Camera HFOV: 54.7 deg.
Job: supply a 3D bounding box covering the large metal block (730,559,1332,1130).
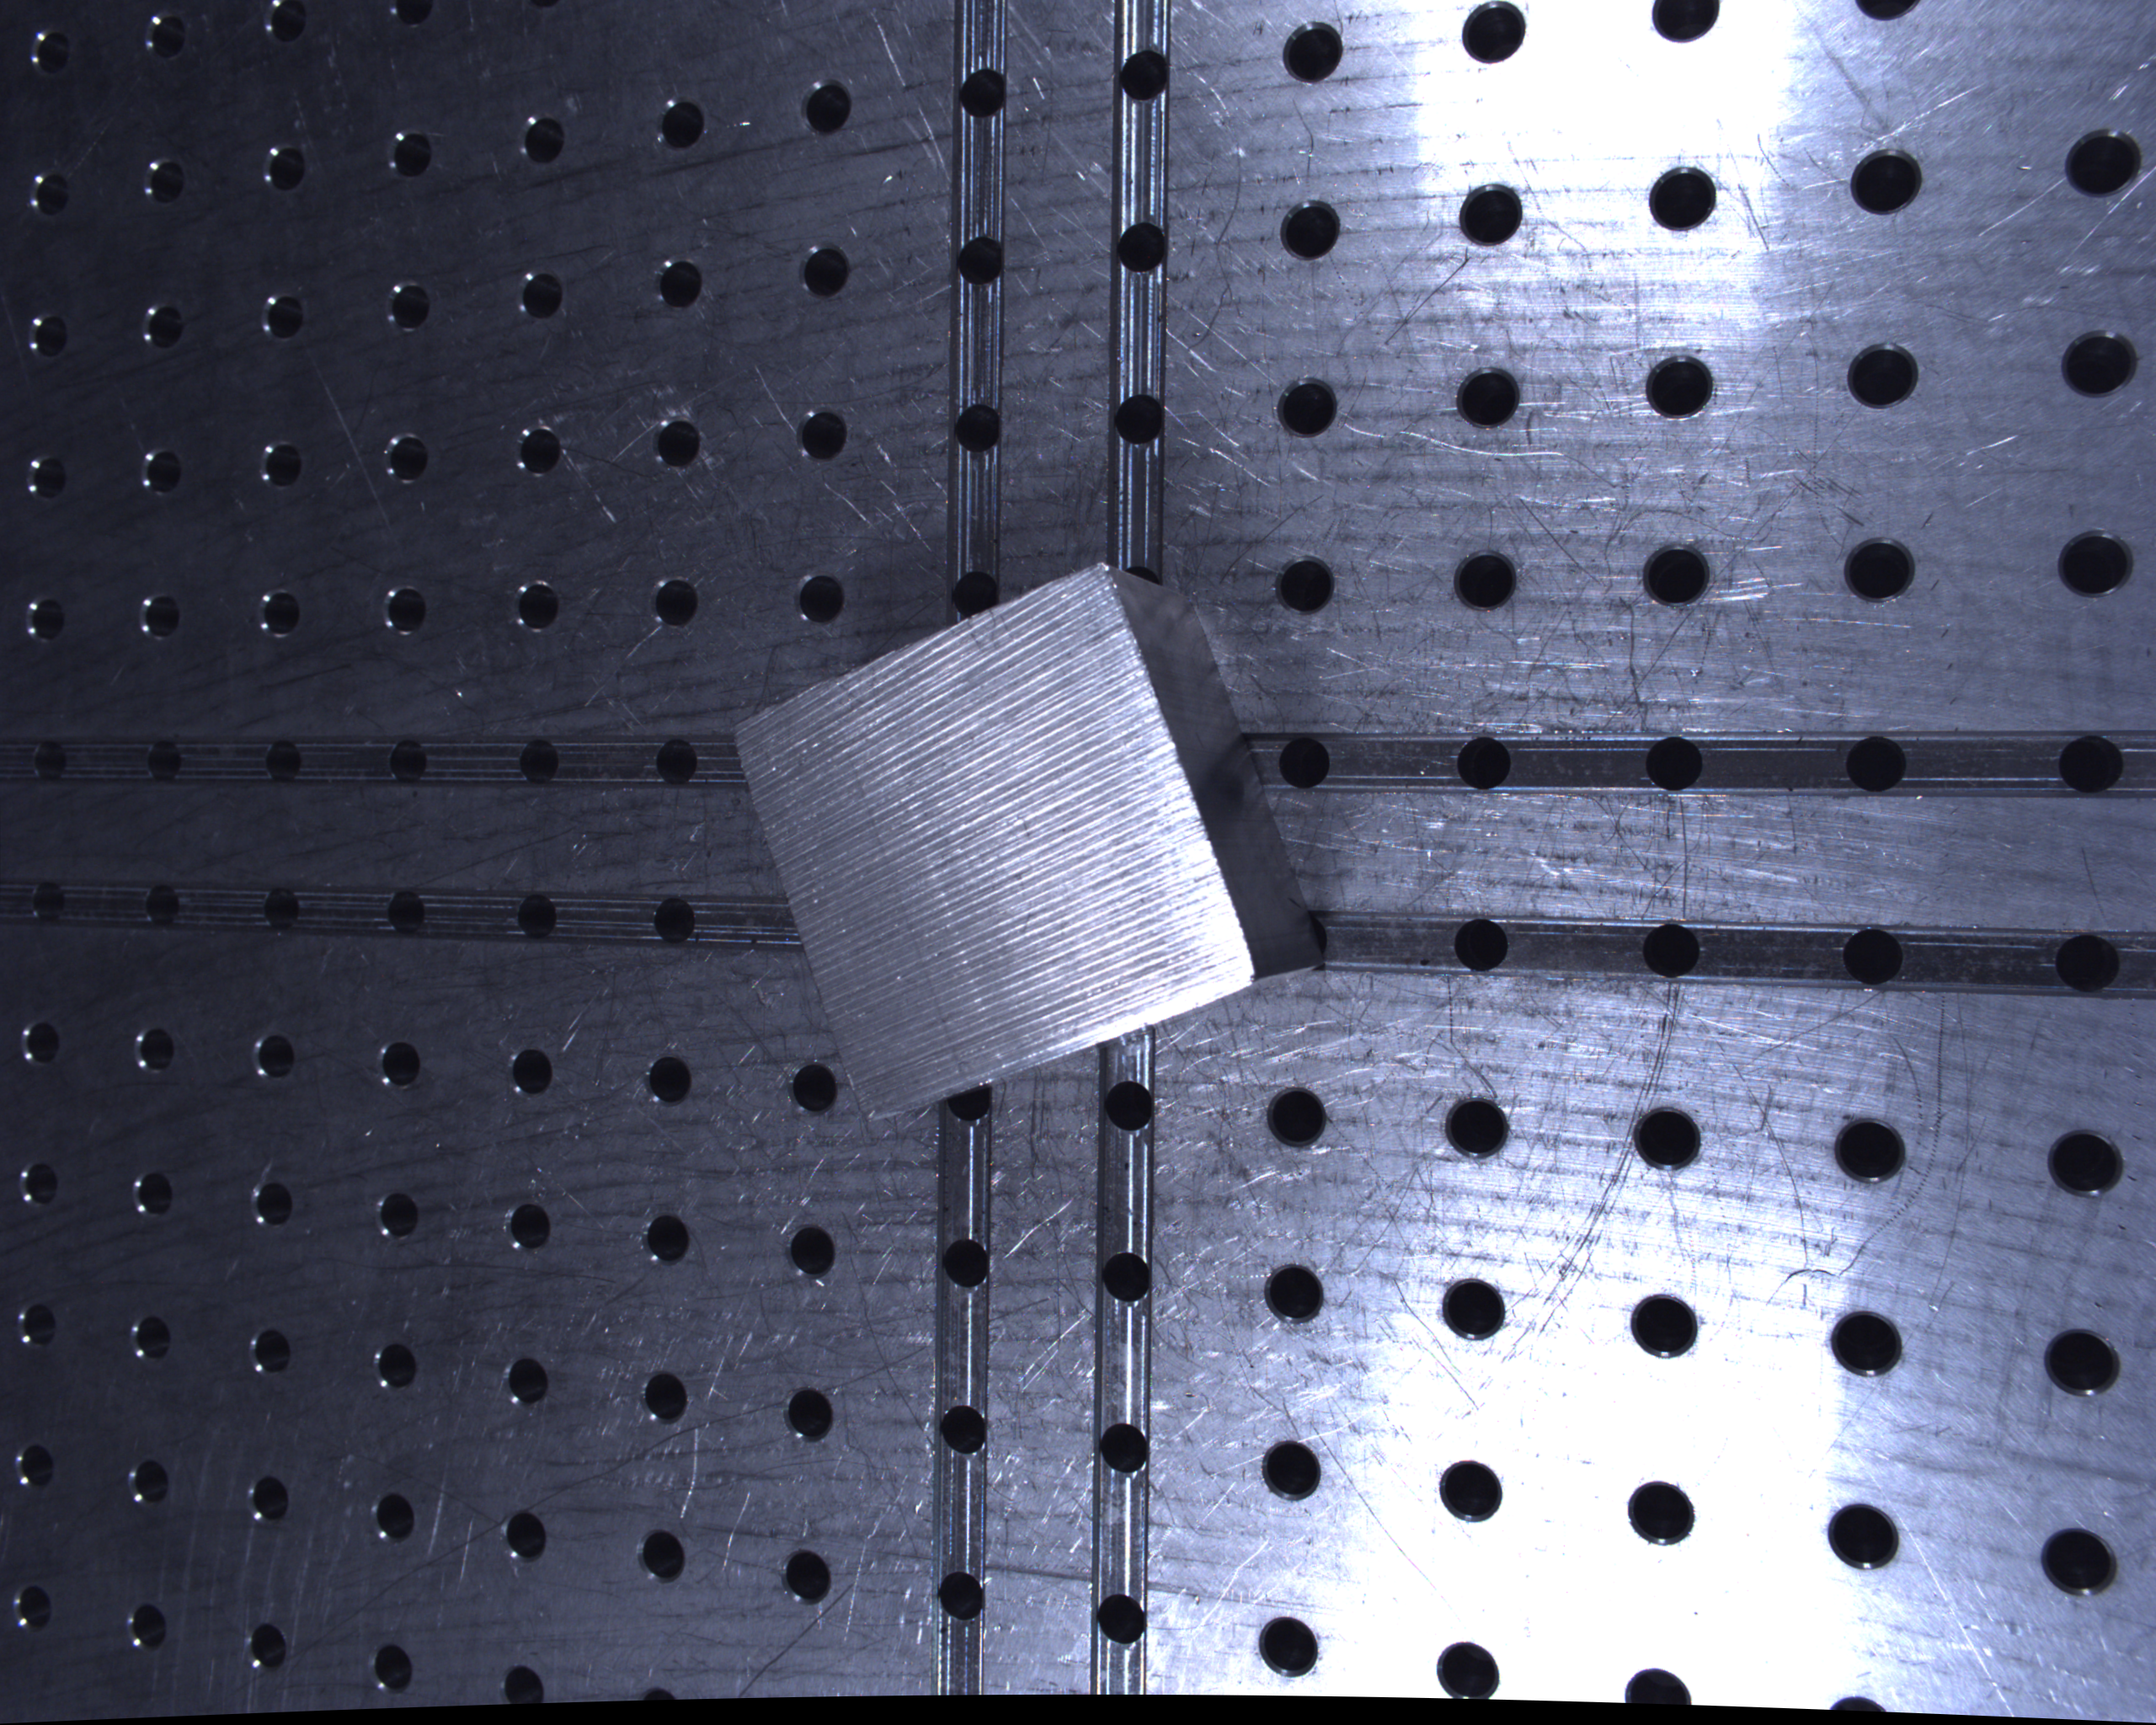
[{"bbox_3d":[-0.008,-0.002,0.398,0.080,0.050,0.080,-22,83,18],"label":"large metal block"}]
